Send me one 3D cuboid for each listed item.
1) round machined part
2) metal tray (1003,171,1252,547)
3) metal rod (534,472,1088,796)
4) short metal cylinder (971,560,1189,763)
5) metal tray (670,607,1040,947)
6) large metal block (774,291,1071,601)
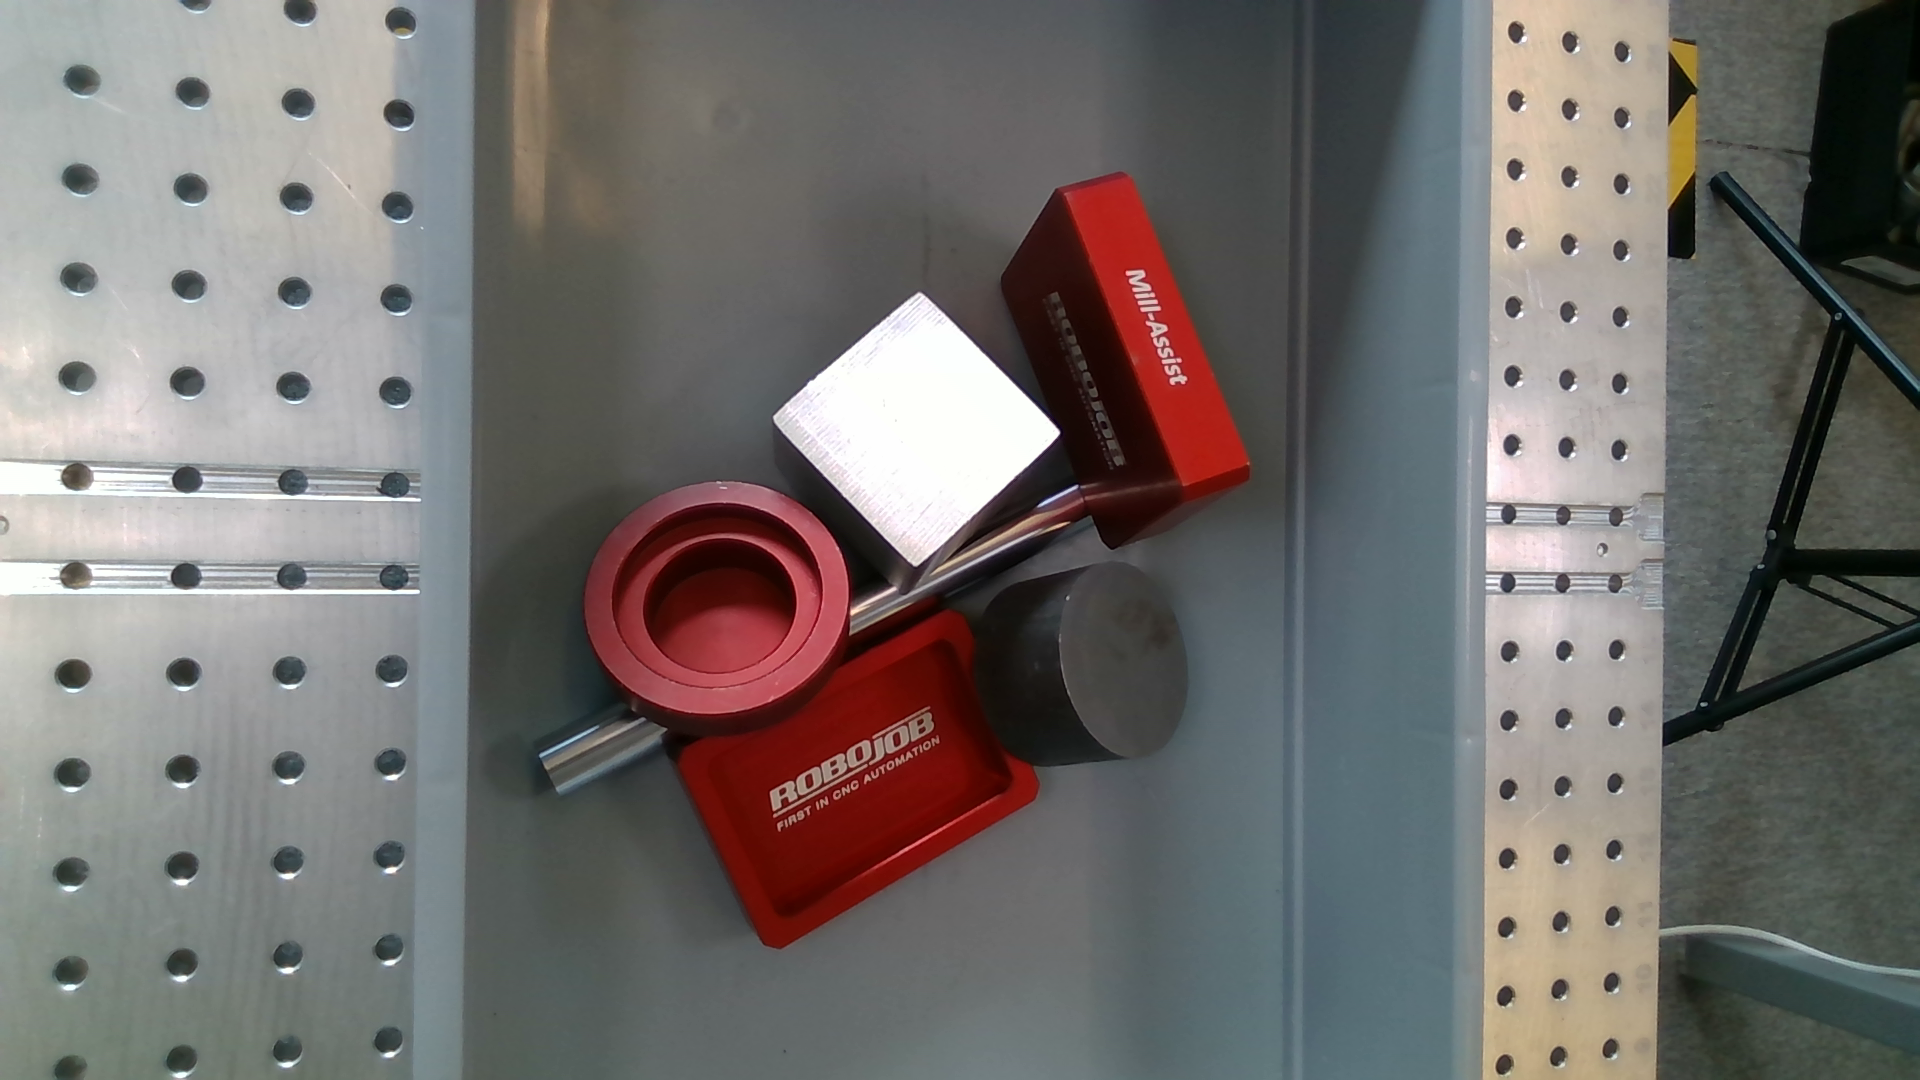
[{"bbox_3d":[-0.091,0.029,0.527,0.098,0.042,0.098,2,61,-4],"label":"round machined part"},{"bbox_3d":[0.064,-0.070,0.558,0.030,0.090,0.130,-19,82,-18],"label":"metal tray"},{"bbox_3d":[-0.030,0.024,0.573,0.300,0.025,0.025,-27,99,-18],"label":"metal rod"},{"bbox_3d":[0.051,0.052,0.575,0.080,0.050,0.080,14,70,-41],"label":"short metal cylinder"},{"bbox_3d":[-0.042,0.094,0.567,0.130,0.030,0.090,-27,99,-18],"label":"metal tray"},{"bbox_3d":[-0.017,-0.036,0.546,0.080,0.050,0.080,45,75,4],"label":"large metal block"}]
